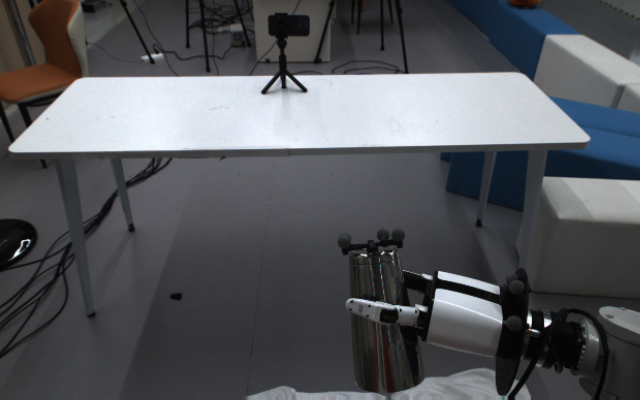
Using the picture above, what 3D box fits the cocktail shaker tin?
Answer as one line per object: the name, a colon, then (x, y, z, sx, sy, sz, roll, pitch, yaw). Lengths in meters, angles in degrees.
cocktail shaker tin: (0.082, 0.151, 0.639, 0.093, 0.170, 0.093, -8, 1, 0)
